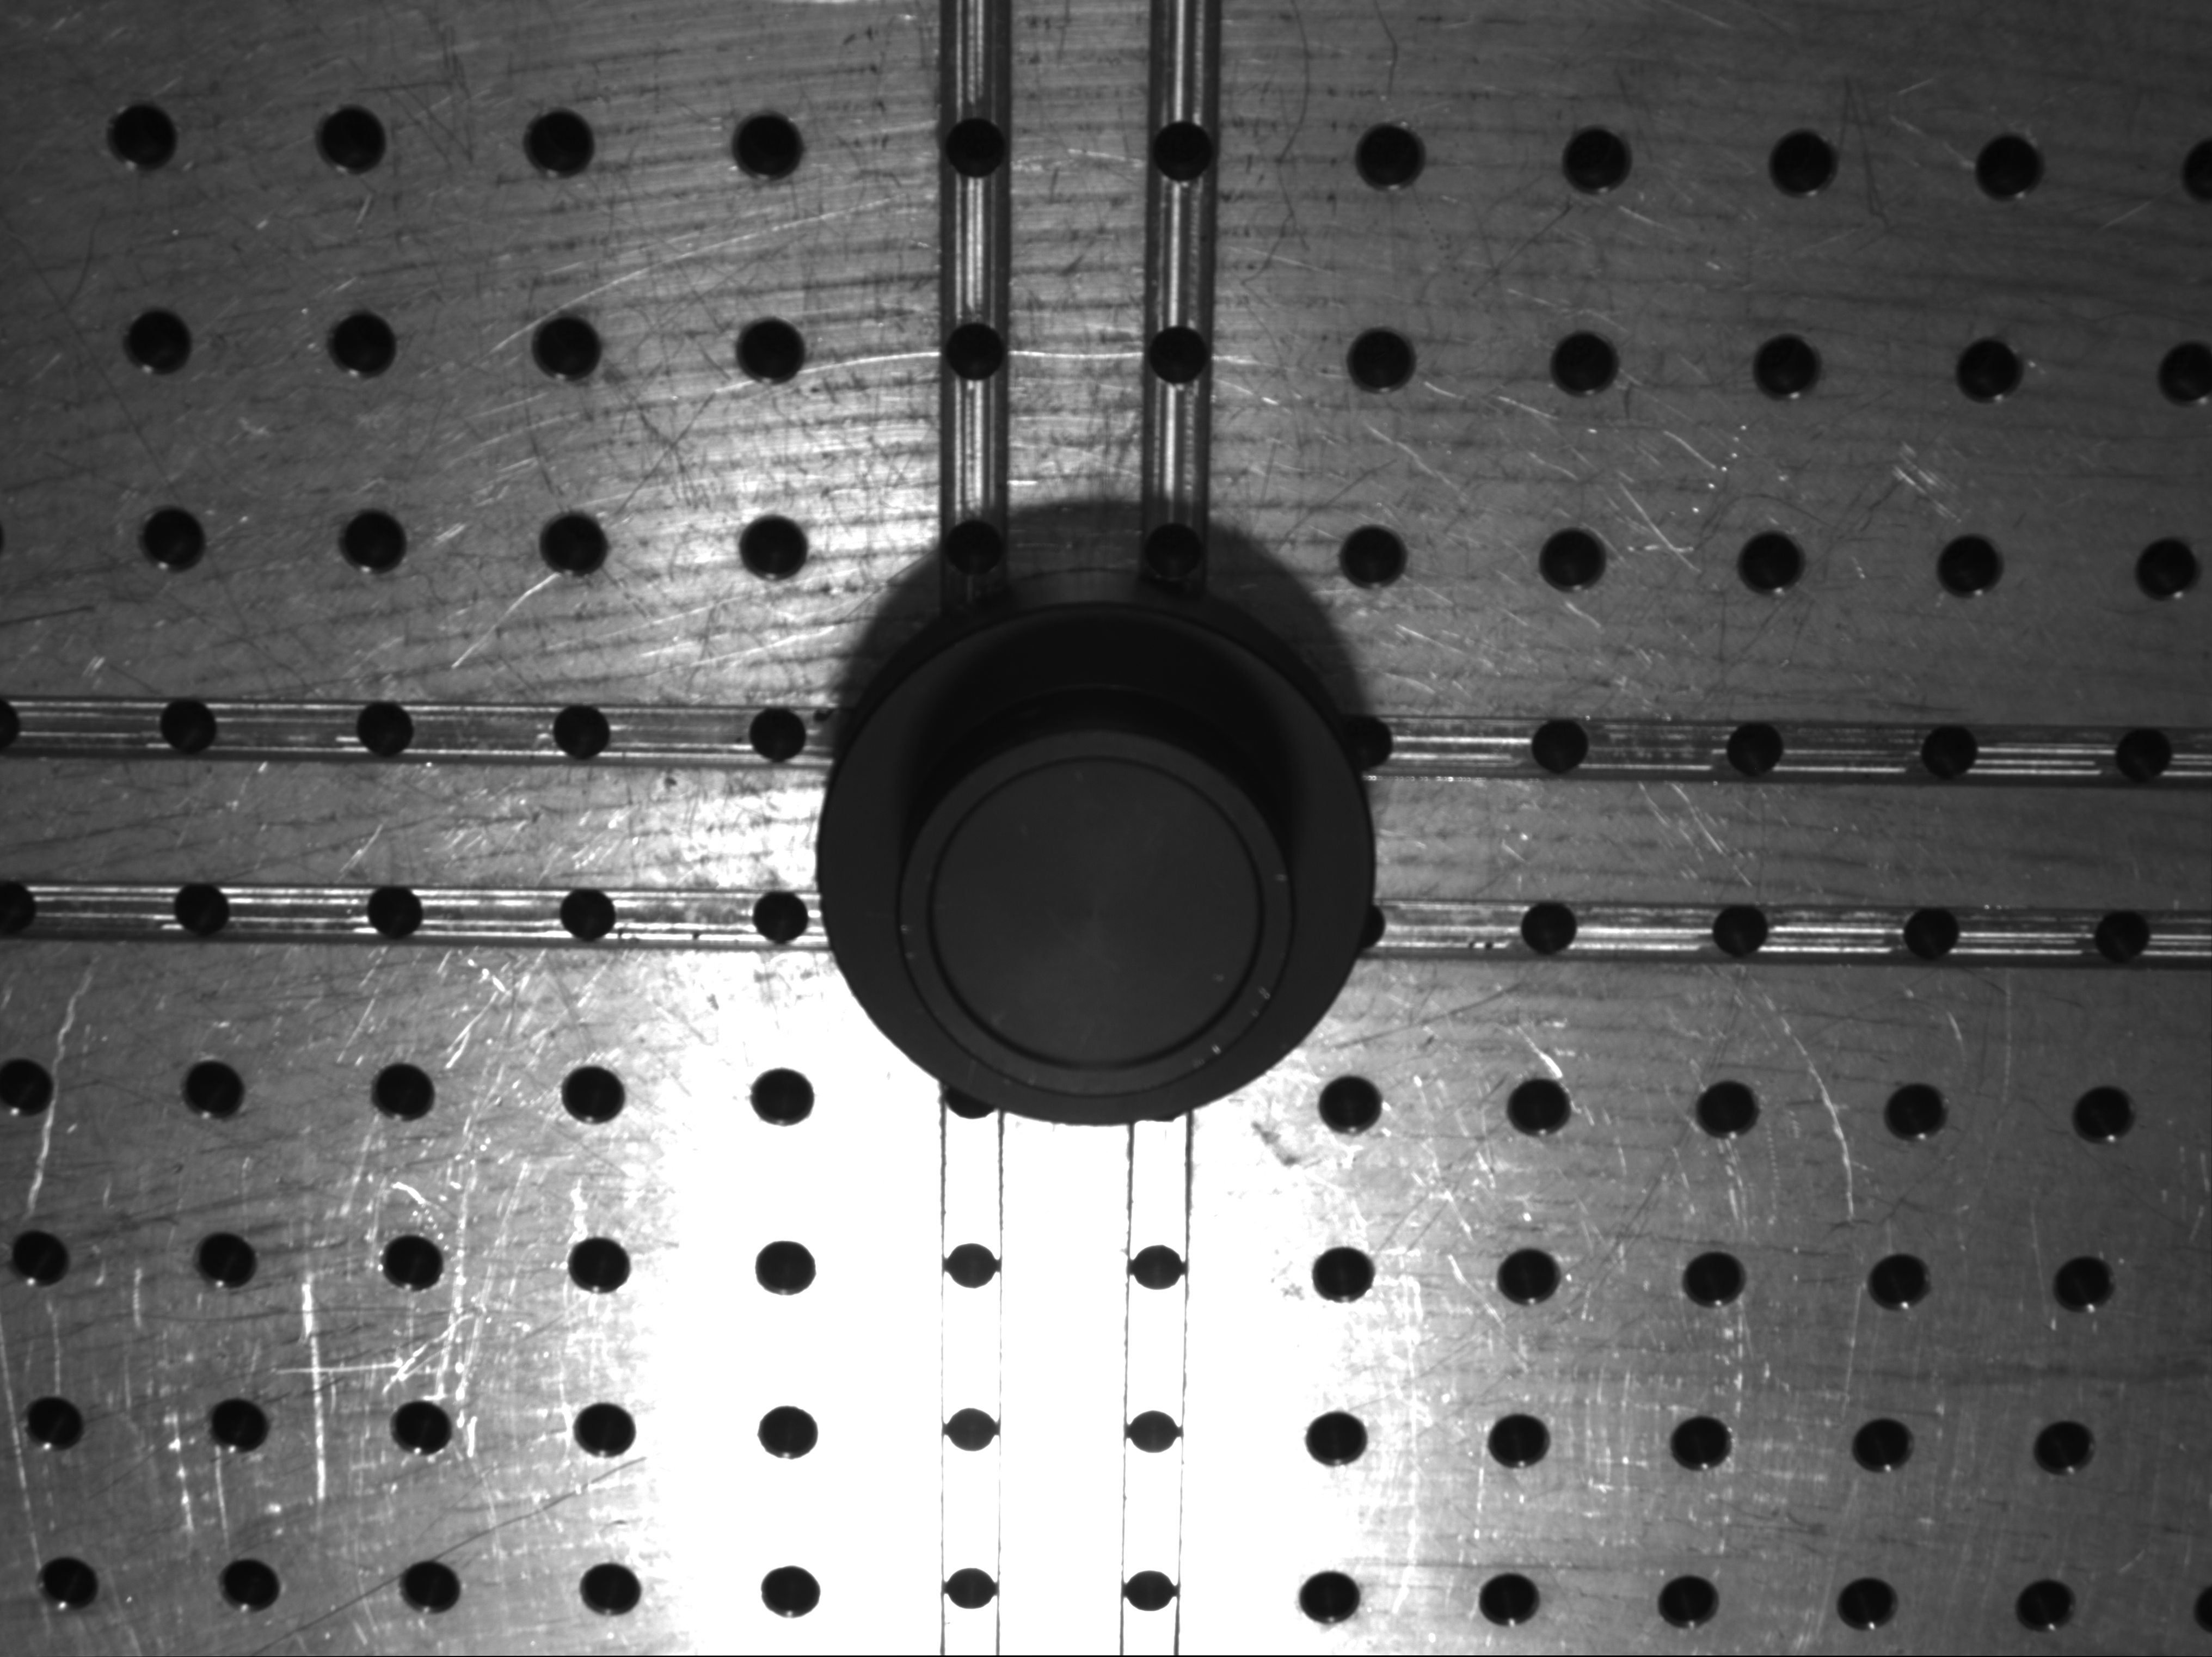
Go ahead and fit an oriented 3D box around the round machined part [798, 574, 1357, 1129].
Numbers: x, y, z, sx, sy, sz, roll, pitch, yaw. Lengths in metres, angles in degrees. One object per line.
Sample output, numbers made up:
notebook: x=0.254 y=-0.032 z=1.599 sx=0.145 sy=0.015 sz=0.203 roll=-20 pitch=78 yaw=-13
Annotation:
round machined part: x=-0.005 y=0.008 z=0.639 sx=0.098 sy=0.042 sz=0.098 roll=0 pitch=110 yaw=-1
